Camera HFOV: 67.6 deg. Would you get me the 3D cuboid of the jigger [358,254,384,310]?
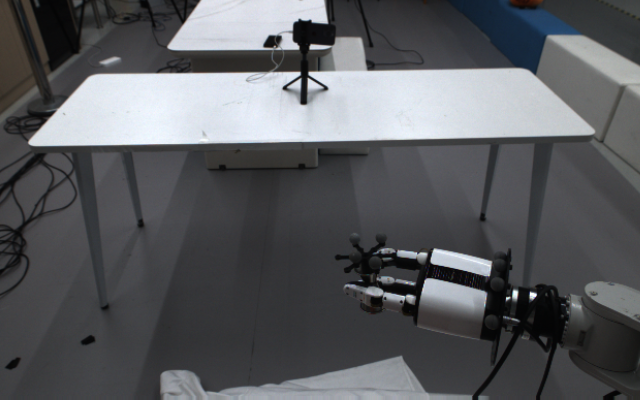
[{"bbox_3d":[0.076,0.123,0.712,0.043,0.071,0.043,-11,23,5],"label":"jigger"}]
